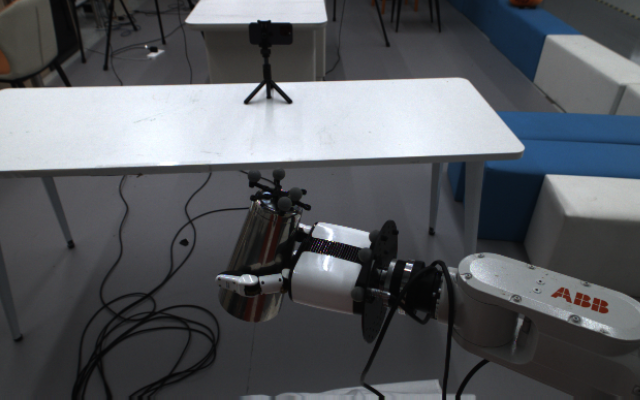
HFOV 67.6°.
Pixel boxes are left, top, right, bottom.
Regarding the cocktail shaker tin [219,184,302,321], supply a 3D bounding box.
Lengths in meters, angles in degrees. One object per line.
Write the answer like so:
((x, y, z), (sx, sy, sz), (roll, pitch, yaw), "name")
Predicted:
((-0.076, 0.070, 0.661), (0.093, 0.170, 0.093), (15, 27, -8), "cocktail shaker tin")
